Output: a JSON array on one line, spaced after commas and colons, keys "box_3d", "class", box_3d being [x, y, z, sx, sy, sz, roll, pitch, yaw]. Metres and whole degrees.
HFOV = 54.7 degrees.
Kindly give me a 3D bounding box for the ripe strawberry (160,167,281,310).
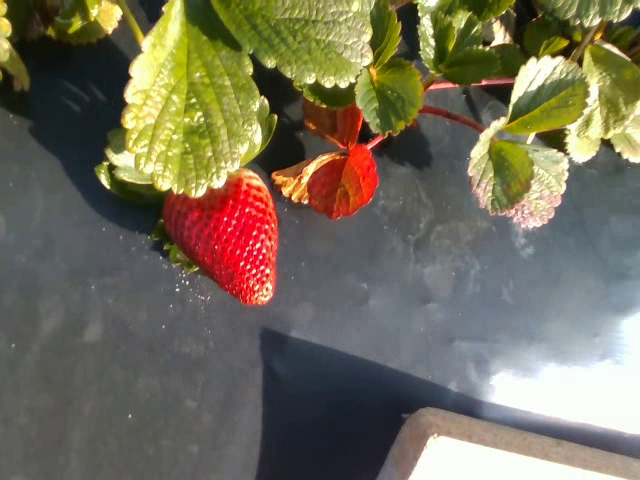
[{"box_3d": [-0.030, 0.000, 0.200, 0.040, 0.056, 0.041, -29, -21, 4], "class": "ripe strawberry"}]
